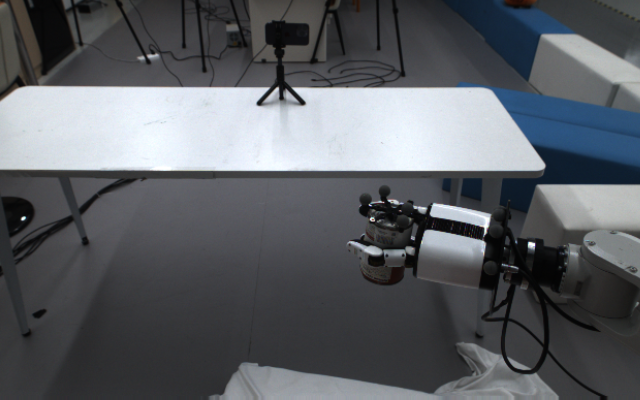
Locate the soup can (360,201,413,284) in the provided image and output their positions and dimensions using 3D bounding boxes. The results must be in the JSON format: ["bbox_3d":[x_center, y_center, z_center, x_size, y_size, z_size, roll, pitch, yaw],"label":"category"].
[{"bbox_3d":[0.098,0.065,0.706,0.067,0.101,0.067,3,30,-2],"label":"soup can"}]
